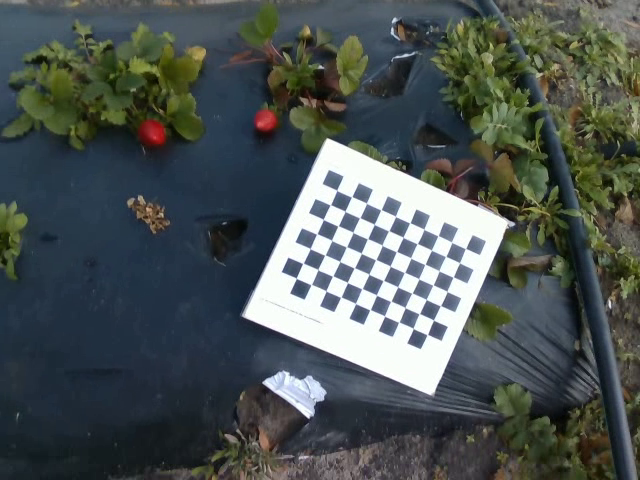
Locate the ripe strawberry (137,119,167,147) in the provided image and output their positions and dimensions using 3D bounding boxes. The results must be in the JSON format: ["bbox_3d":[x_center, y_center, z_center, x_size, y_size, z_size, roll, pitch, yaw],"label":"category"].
[{"bbox_3d":[-0.235,-0.152,0.871,0.050,0.046,0.050,27,11,-15],"label":"ripe strawberry"}]

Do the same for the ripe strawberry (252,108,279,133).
[{"bbox_3d":[-0.085,-0.176,0.910,0.041,0.045,0.052,-32,15,33],"label":"ripe strawberry"}]
